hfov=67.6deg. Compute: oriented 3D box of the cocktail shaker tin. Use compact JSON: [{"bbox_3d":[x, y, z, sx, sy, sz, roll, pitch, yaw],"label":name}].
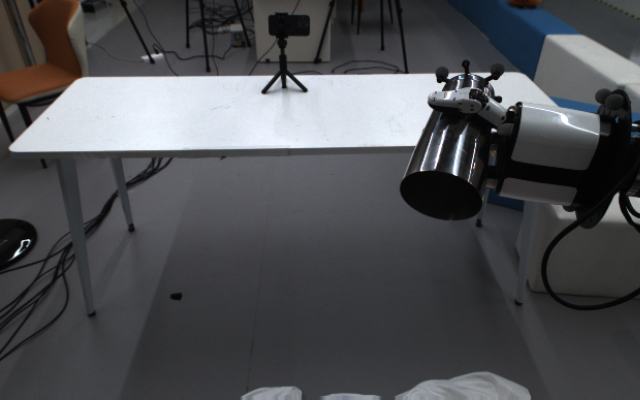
[{"bbox_3d":[0.162,-0.072,0.579,0.093,0.093,0.170,14,57,16],"label":"cocktail shaker tin"}]
